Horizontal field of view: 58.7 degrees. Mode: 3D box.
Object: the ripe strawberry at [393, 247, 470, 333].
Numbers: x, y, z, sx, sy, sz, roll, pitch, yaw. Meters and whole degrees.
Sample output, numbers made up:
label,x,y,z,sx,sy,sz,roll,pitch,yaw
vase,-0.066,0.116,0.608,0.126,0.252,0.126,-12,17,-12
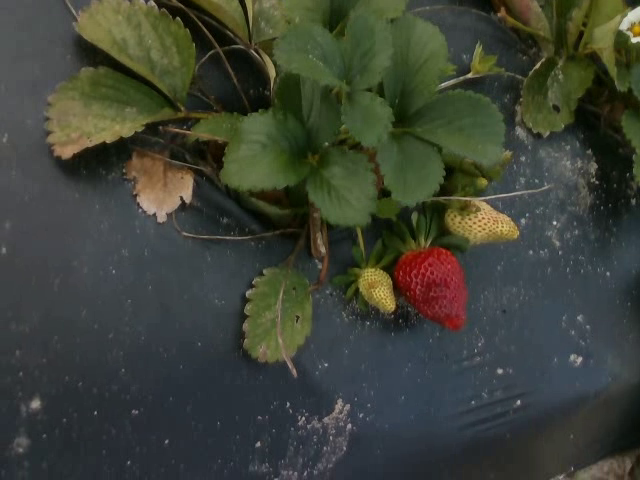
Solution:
label,x,y,z,sx,sy,sz,roll,pitch,yaw
ripe strawberry,0.068,0.032,0.321,0.047,0.059,0.045,-11,-40,-16
